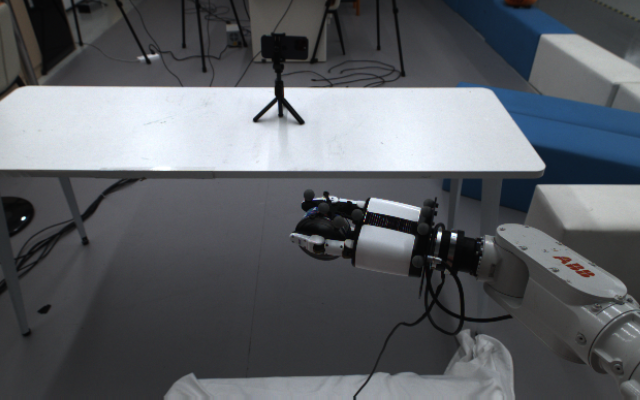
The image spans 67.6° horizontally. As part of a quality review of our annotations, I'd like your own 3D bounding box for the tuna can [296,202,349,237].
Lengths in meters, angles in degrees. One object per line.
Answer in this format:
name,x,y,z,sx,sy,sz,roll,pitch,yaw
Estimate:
tuna can,0.008,0.052,0.770,0.085,0.085,0.034,12,33,14
